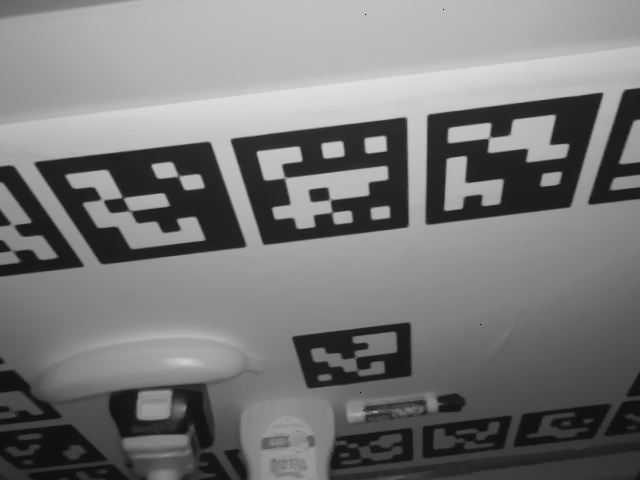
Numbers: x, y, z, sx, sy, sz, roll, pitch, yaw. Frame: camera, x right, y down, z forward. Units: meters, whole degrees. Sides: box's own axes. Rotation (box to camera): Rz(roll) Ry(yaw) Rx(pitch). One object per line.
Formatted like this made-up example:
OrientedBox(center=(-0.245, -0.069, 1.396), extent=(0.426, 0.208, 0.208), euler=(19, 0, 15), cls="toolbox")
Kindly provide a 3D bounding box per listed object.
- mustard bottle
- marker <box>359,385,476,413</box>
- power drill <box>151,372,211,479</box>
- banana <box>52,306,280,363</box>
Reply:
OrientedBox(center=(-0.020, 0.236, 0.658), extent=(0.096, 0.193, 0.058), euler=(3, 136, -6), cls="mustard bottle")
OrientedBox(center=(0.102, 0.166, 0.724), extent=(0.121, 0.020, 0.019), euler=(-5, 136, -1), cls="marker")
OrientedBox(center=(-0.131, 0.215, 0.601), extent=(0.057, 0.188, 0.182), euler=(5, 138, -7), cls="power drill")
OrientedBox(center=(-0.134, 0.085, 0.604), extent=(0.198, 0.039, 0.073), euler=(-2, 135, -6), cls="banana")
